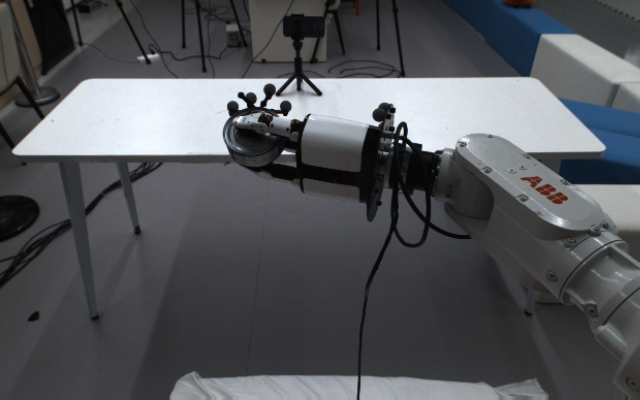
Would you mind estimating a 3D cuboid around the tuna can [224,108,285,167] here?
[{"bbox_3d":[-0.090,-0.089,0.691,0.085,0.034,0.085,-2,57,3],"label":"tuna can"}]
